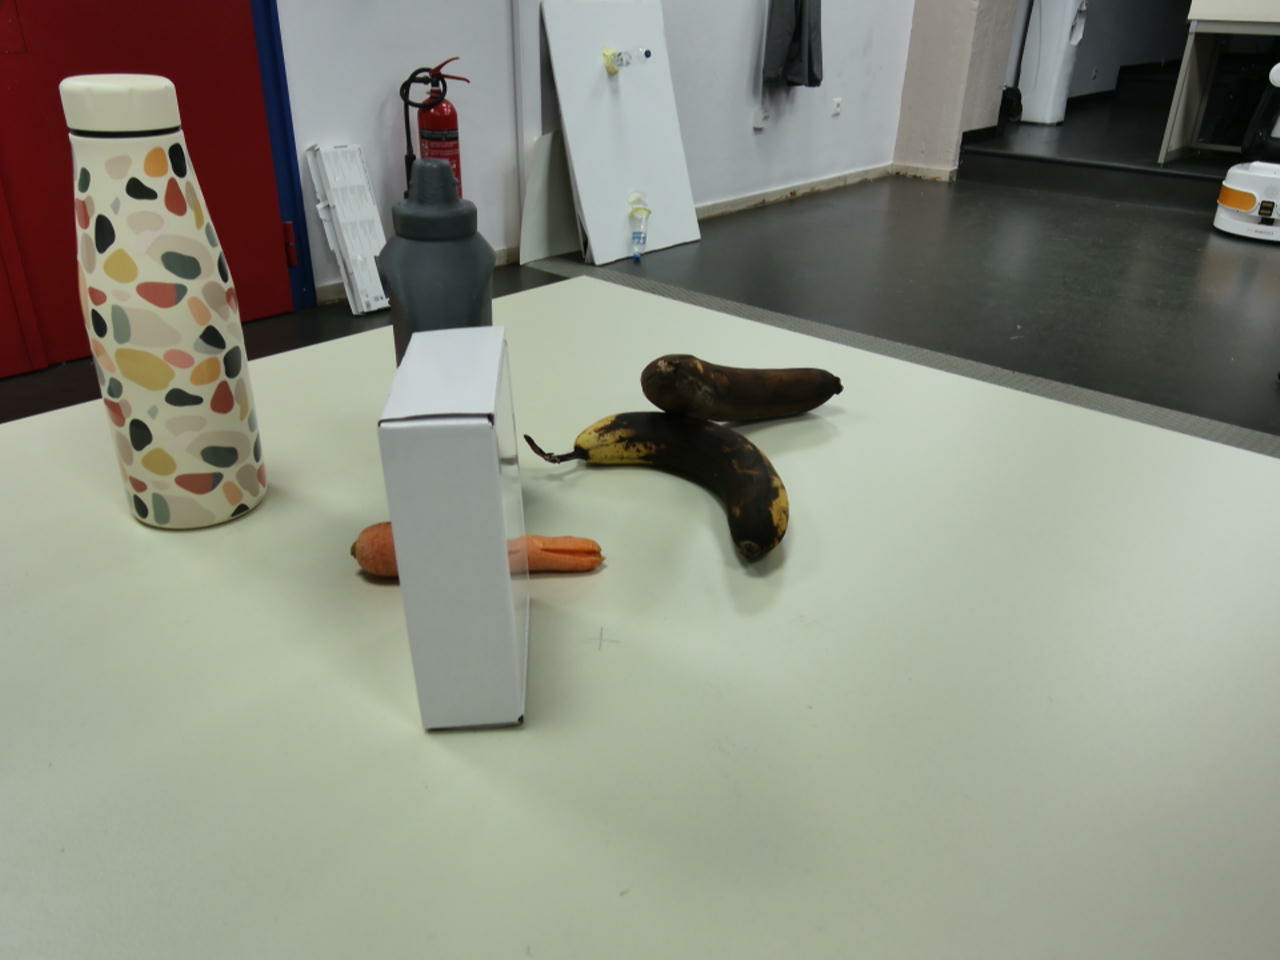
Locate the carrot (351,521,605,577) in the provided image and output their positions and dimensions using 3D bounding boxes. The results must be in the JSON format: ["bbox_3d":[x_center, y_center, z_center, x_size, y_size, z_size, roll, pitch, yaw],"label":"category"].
[{"bbox_3d":[-0.087,0.037,0.544,0.136,0.032,0.030,-1,24,-3],"label":"carrot"}]
